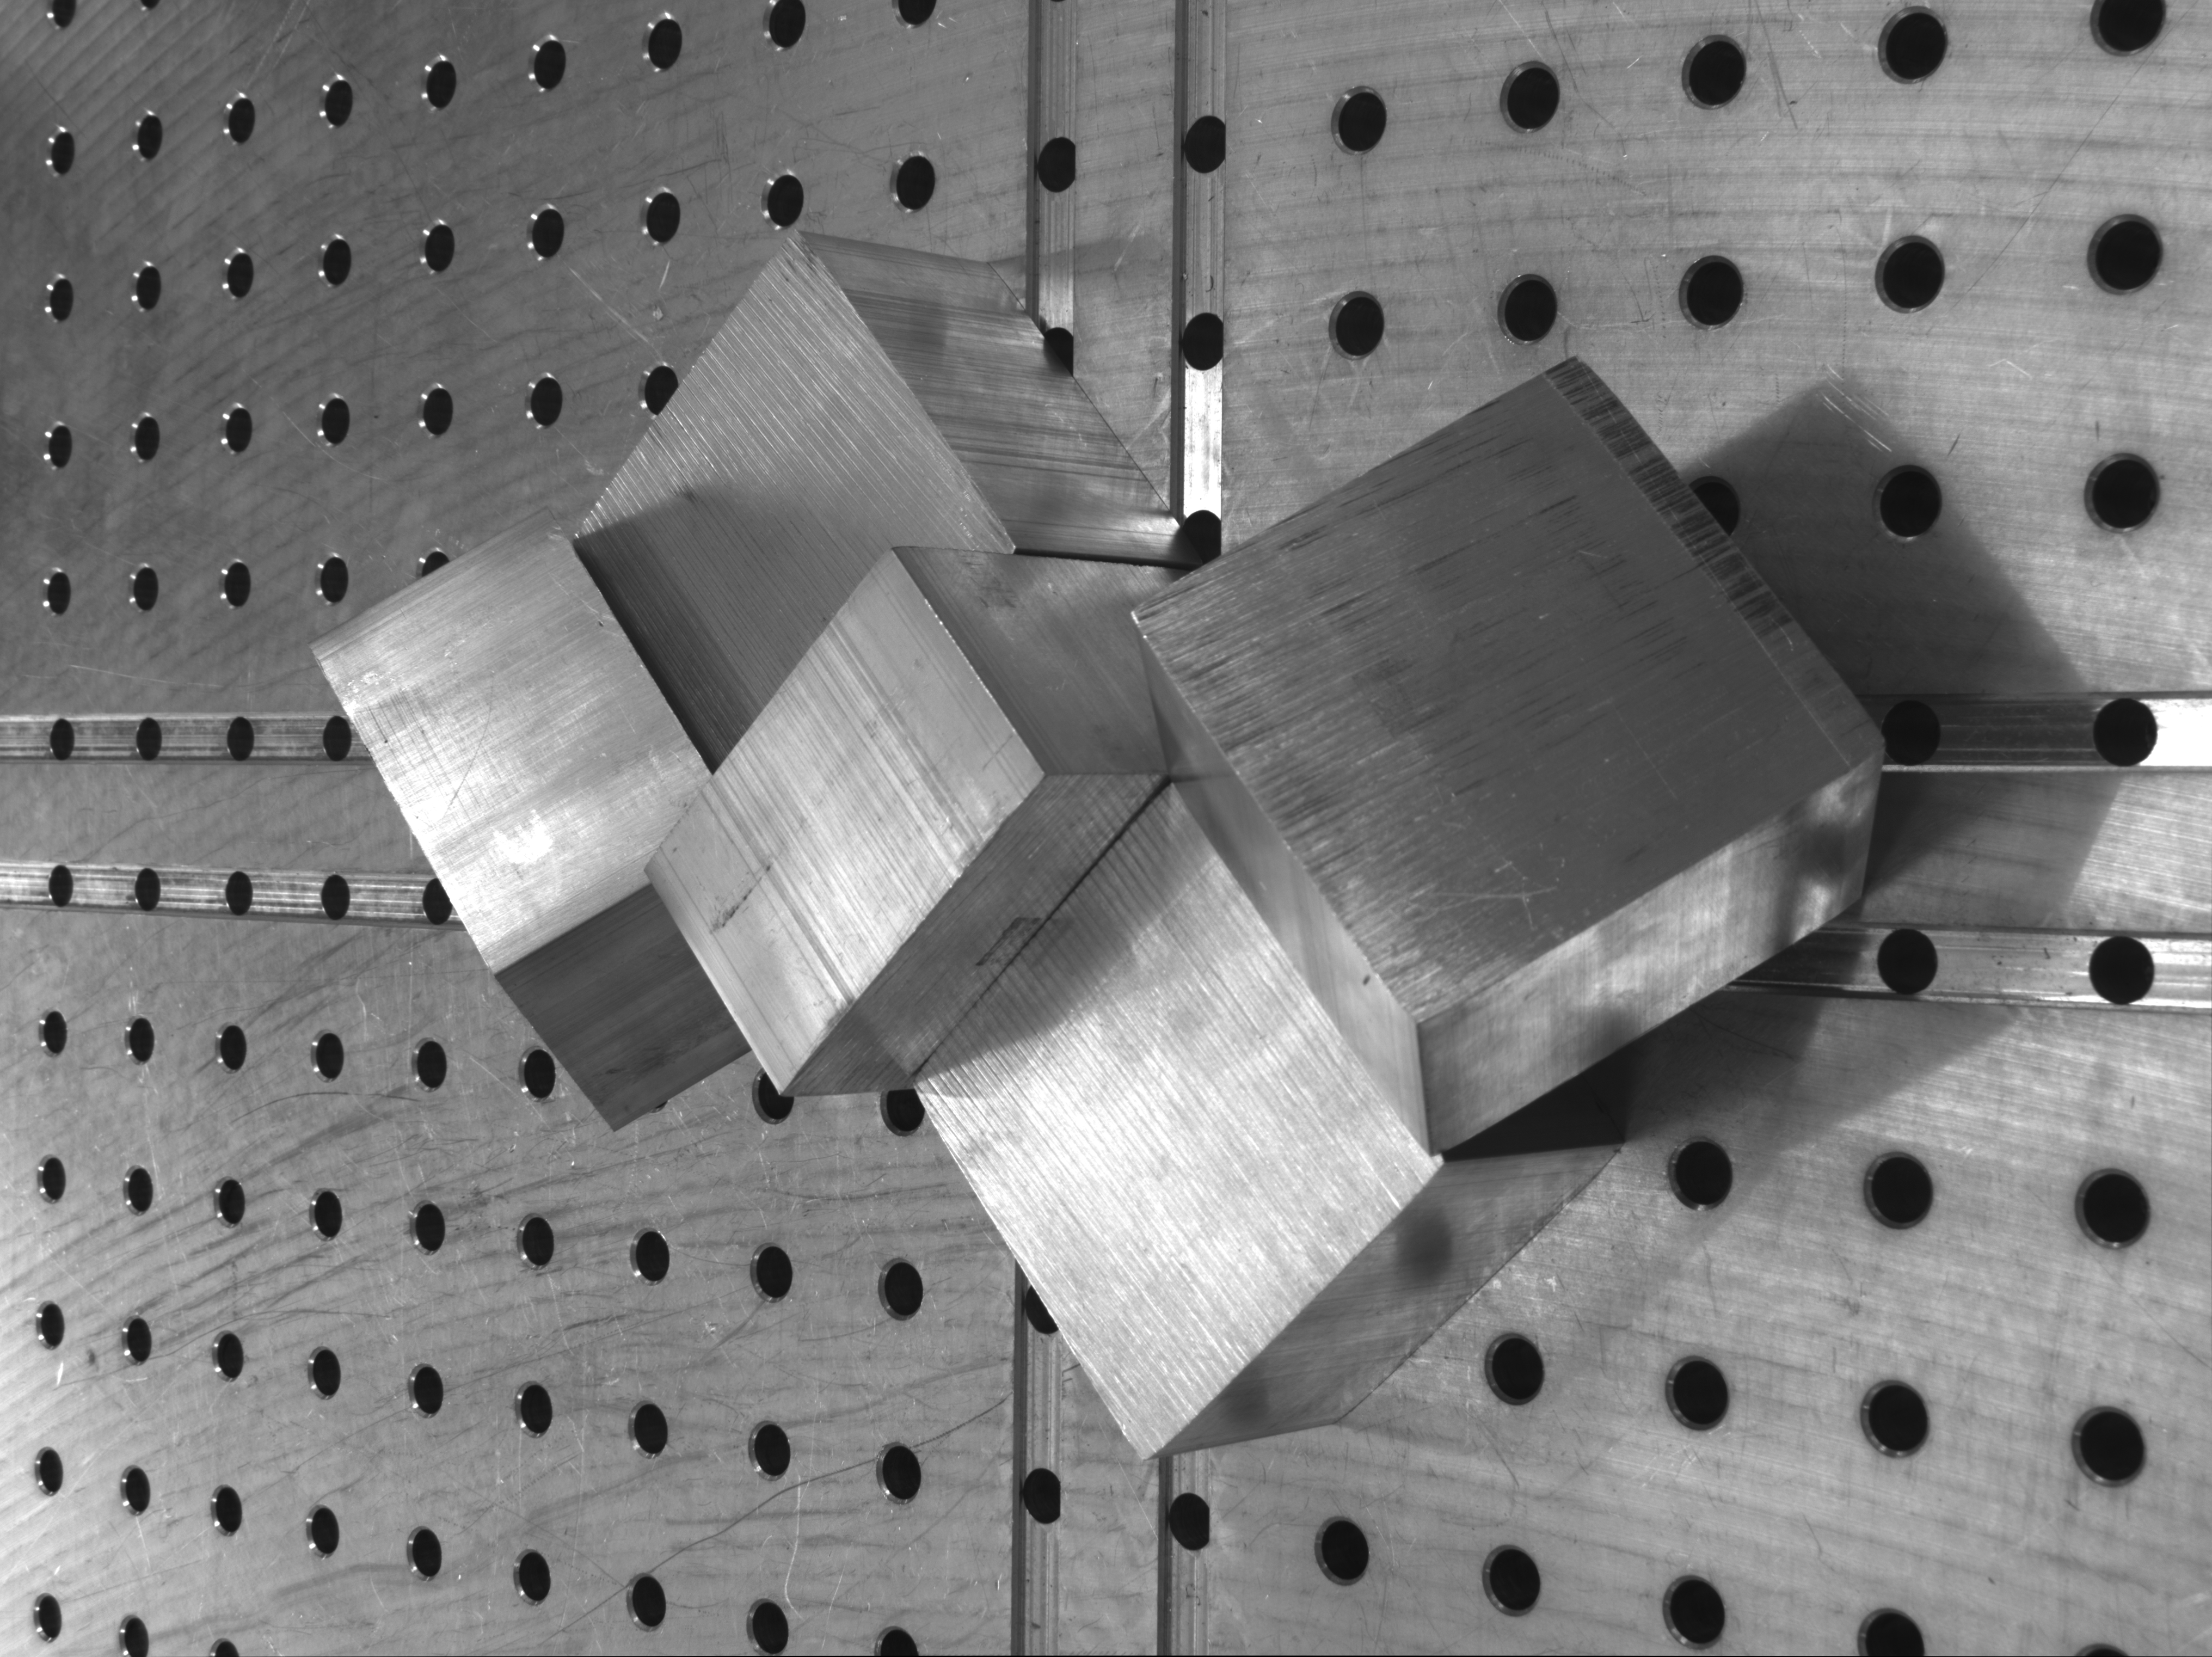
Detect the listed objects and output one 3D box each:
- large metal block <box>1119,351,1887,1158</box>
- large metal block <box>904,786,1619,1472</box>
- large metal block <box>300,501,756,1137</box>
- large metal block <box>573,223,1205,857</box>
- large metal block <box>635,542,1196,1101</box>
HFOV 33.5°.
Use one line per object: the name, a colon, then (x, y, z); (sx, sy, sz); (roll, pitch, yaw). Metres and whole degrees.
large metal block: (0.059, -0.011, 0.555); (0.080, 0.050, 0.080); (-31, 65, -7)
large metal block: (0.024, 0.048, 0.612); (0.080, 0.050, 0.080); (-49, 60, 29)
large metal block: (-0.099, 0.000, 0.687); (0.050, 0.080, 0.080); (-31, 65, -6)
large metal block: (-0.042, -0.050, 0.667); (0.080, 0.050, 0.080); (-50, 61, 30)
large metal block: (-0.019, -0.001, 0.629); (0.080, 0.080, 0.050); (-50, 62, 28)
